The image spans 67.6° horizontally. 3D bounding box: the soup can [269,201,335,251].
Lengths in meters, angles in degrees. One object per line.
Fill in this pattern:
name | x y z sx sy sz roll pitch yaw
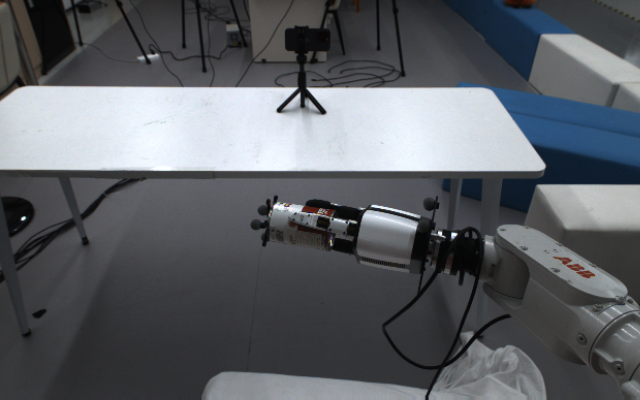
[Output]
soup can | -0.026 0.043 0.782 0.101 0.067 0.067 8 35 11
